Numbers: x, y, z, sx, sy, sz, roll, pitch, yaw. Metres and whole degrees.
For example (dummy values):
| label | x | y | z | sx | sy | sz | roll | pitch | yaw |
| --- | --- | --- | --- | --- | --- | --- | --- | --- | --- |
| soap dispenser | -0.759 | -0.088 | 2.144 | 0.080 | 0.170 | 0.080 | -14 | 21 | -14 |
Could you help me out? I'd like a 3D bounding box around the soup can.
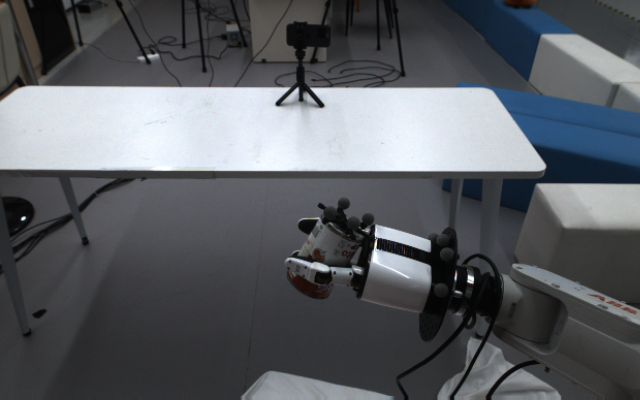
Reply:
| label | x | y | z | sx | sy | sz | roll | pitch | yaw |
| --- | --- | --- | --- | --- | --- | --- | --- | --- | --- |
| soup can | 0.008 | 0.075 | 0.659 | 0.067 | 0.101 | 0.067 | 27 | 18 | -10 |
